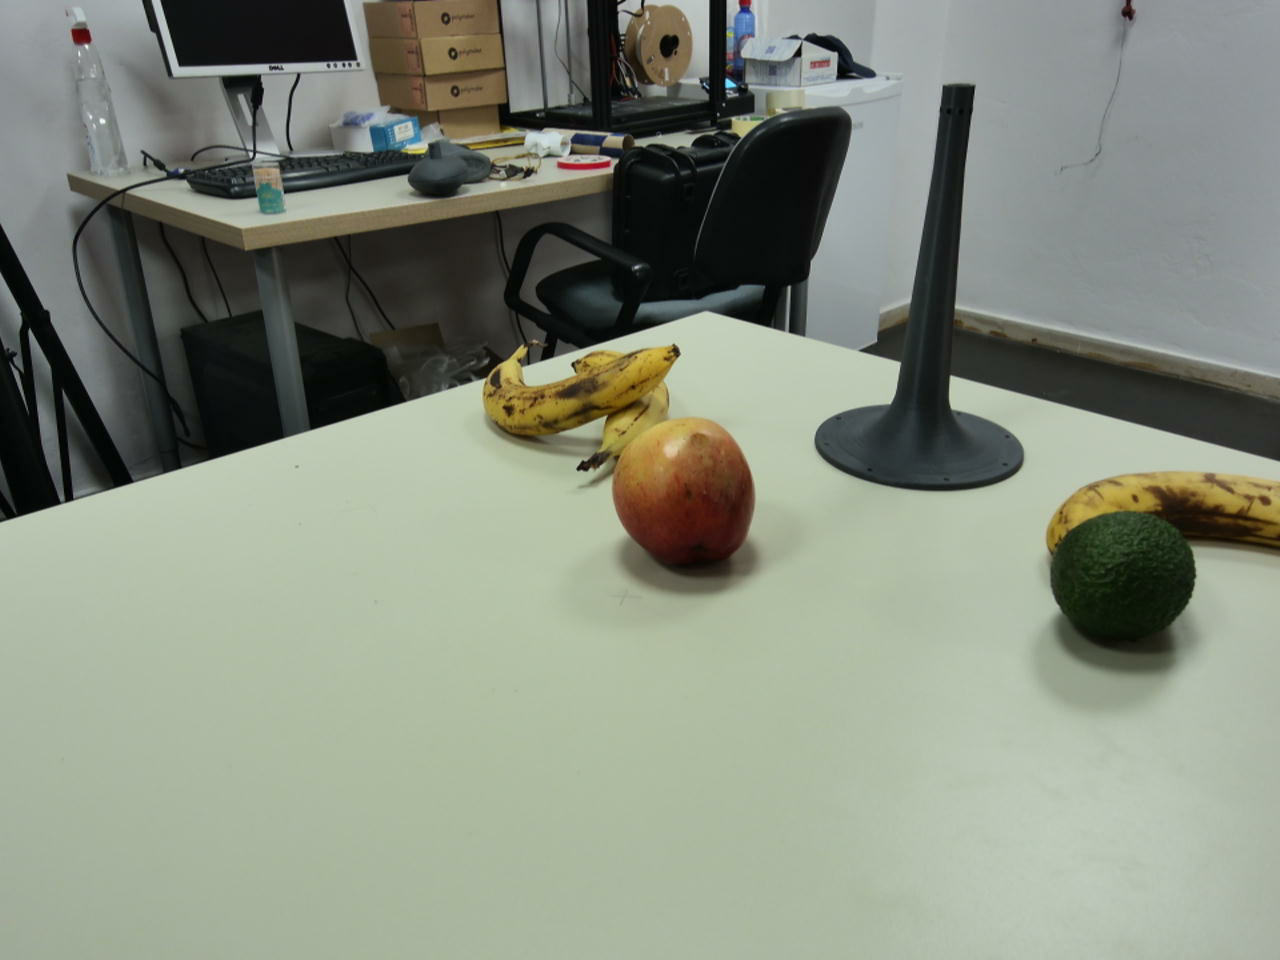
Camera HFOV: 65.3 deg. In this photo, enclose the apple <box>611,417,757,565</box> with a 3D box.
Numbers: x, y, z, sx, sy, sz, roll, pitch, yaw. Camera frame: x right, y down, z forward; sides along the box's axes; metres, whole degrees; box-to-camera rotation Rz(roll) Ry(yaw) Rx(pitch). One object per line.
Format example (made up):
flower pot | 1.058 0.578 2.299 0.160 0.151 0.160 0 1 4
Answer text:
apple | 0.027 0.005 0.604 0.086 0.084 0.093 4 25 11
